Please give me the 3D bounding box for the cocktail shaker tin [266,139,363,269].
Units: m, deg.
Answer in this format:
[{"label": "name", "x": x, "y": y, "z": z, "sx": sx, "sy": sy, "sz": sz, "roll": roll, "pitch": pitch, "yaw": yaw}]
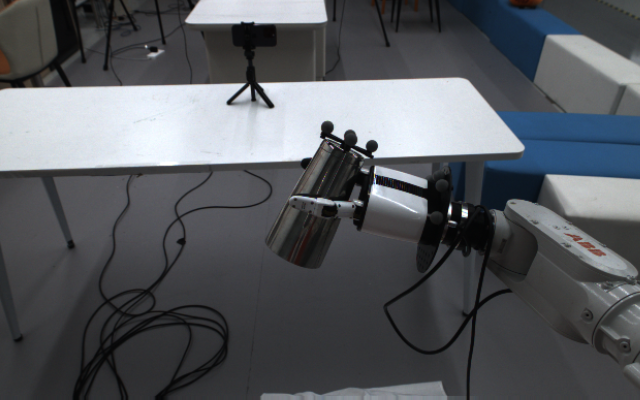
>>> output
[{"label": "cocktail shaker tin", "x": -0.001, "y": 0.001, "z": 0.697, "sx": 0.093, "sy": 0.170, "sz": 0.093, "roll": 24, "pitch": 12, "yaw": -6}]
